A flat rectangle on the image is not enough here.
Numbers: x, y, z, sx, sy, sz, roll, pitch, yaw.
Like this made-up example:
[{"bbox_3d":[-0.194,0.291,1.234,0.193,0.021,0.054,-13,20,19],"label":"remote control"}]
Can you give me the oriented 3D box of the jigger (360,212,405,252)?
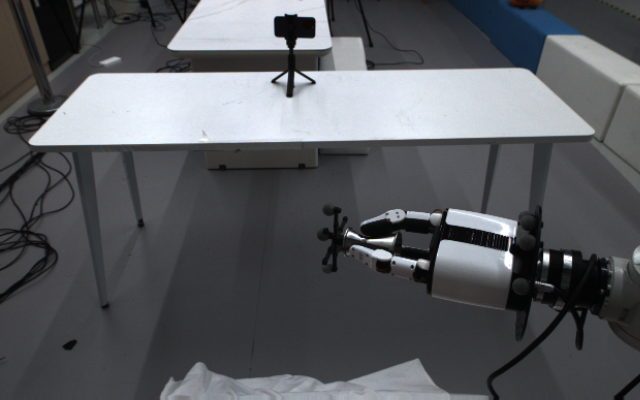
[{"bbox_3d":[0.074,0.055,0.625,0.071,0.043,0.043,6,34,22],"label":"jigger"}]
